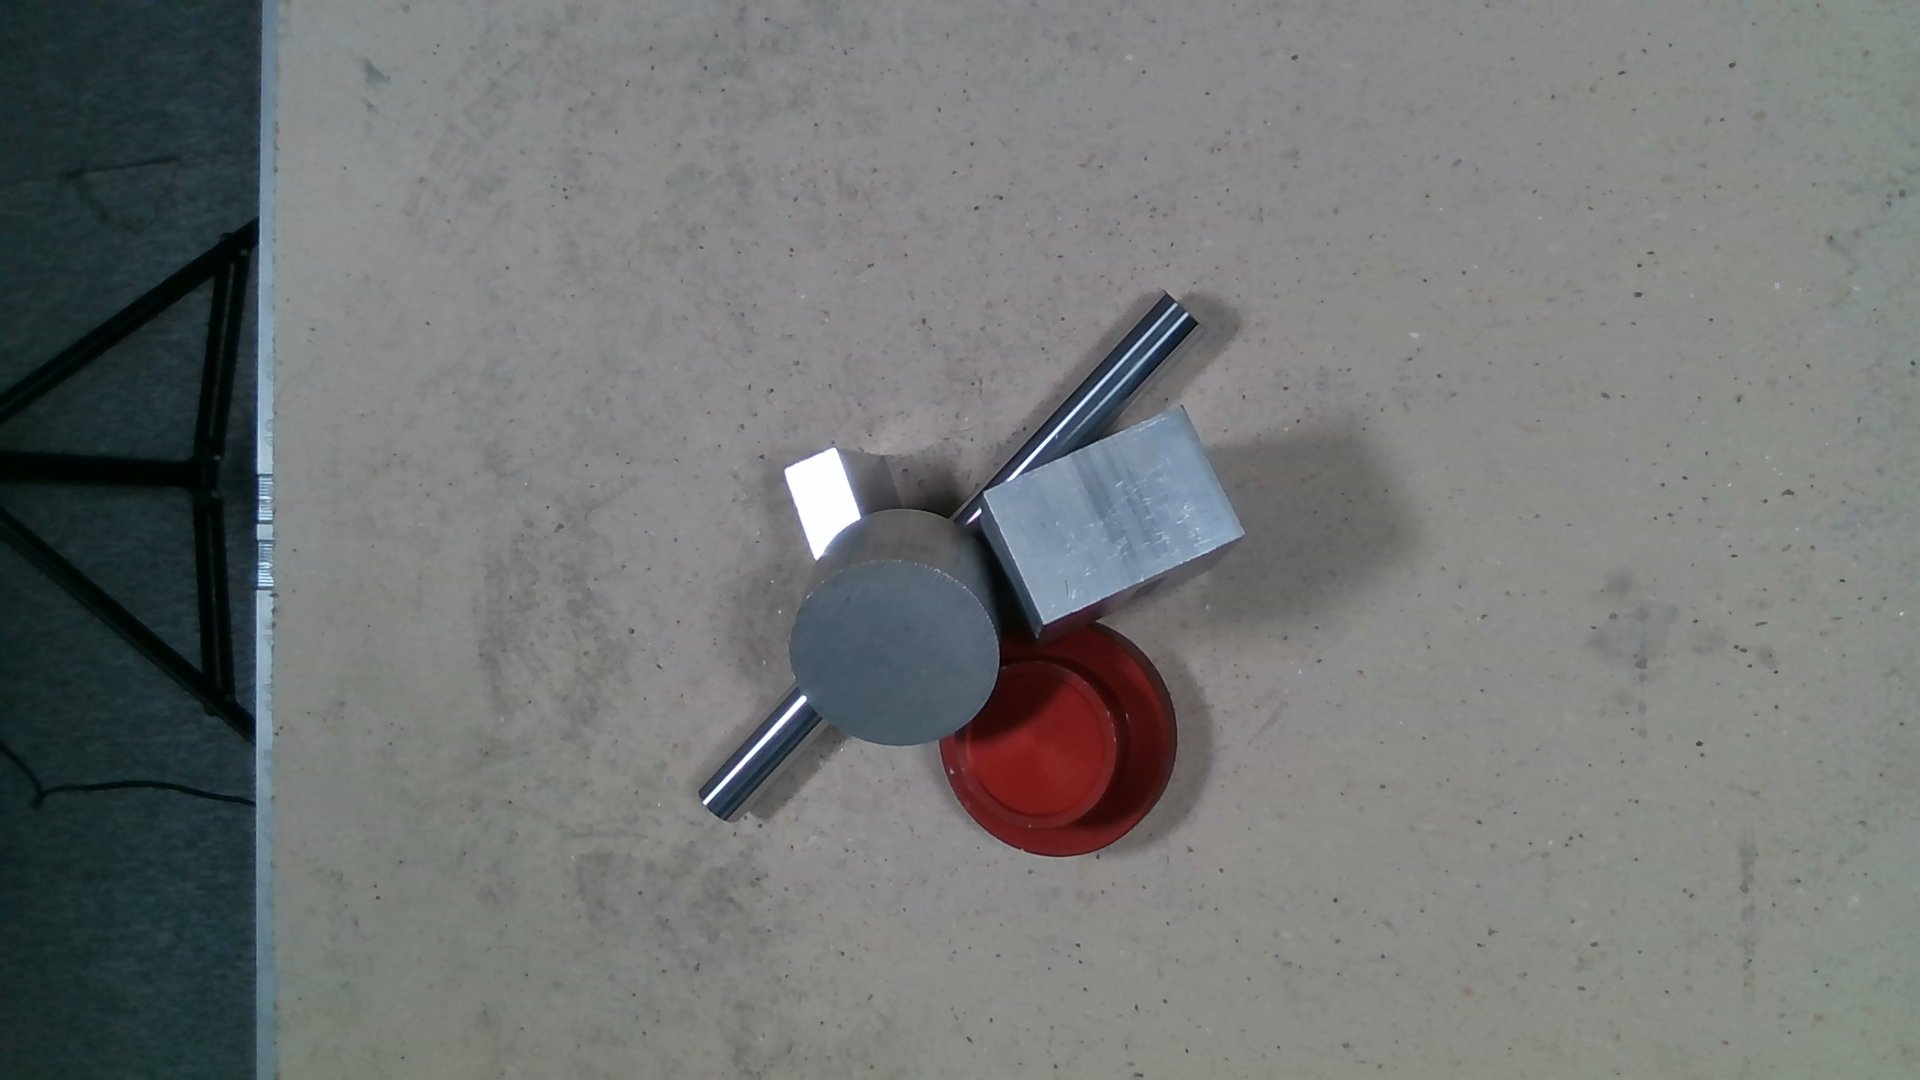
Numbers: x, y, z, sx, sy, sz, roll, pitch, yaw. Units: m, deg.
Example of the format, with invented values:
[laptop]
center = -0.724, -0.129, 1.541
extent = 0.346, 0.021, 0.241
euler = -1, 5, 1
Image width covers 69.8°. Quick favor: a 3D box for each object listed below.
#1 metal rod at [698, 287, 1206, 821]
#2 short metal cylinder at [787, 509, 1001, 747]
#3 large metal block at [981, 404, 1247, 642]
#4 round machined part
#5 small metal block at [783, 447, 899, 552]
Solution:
[metal rod]
center = -0.010, 0.013, 0.590
extent = 0.300, 0.025, 0.025
euler = -47, 76, 15
[short metal cylinder]
center = -0.024, 0.034, 0.542
extent = 0.080, 0.050, 0.080
euler = 1, 113, 3
[large metal block]
center = 0.055, -0.002, 0.525
extent = 0.080, 0.080, 0.050
euler = -24, 80, -4
[round machined part]
center = 0.036, 0.082, 0.564
extent = 0.098, 0.042, 0.098
euler = 0, 91, 20
[small metal block]
center = -0.046, -0.010, 0.590
extent = 0.025, 0.050, 0.050
euler = -23, 83, 18
